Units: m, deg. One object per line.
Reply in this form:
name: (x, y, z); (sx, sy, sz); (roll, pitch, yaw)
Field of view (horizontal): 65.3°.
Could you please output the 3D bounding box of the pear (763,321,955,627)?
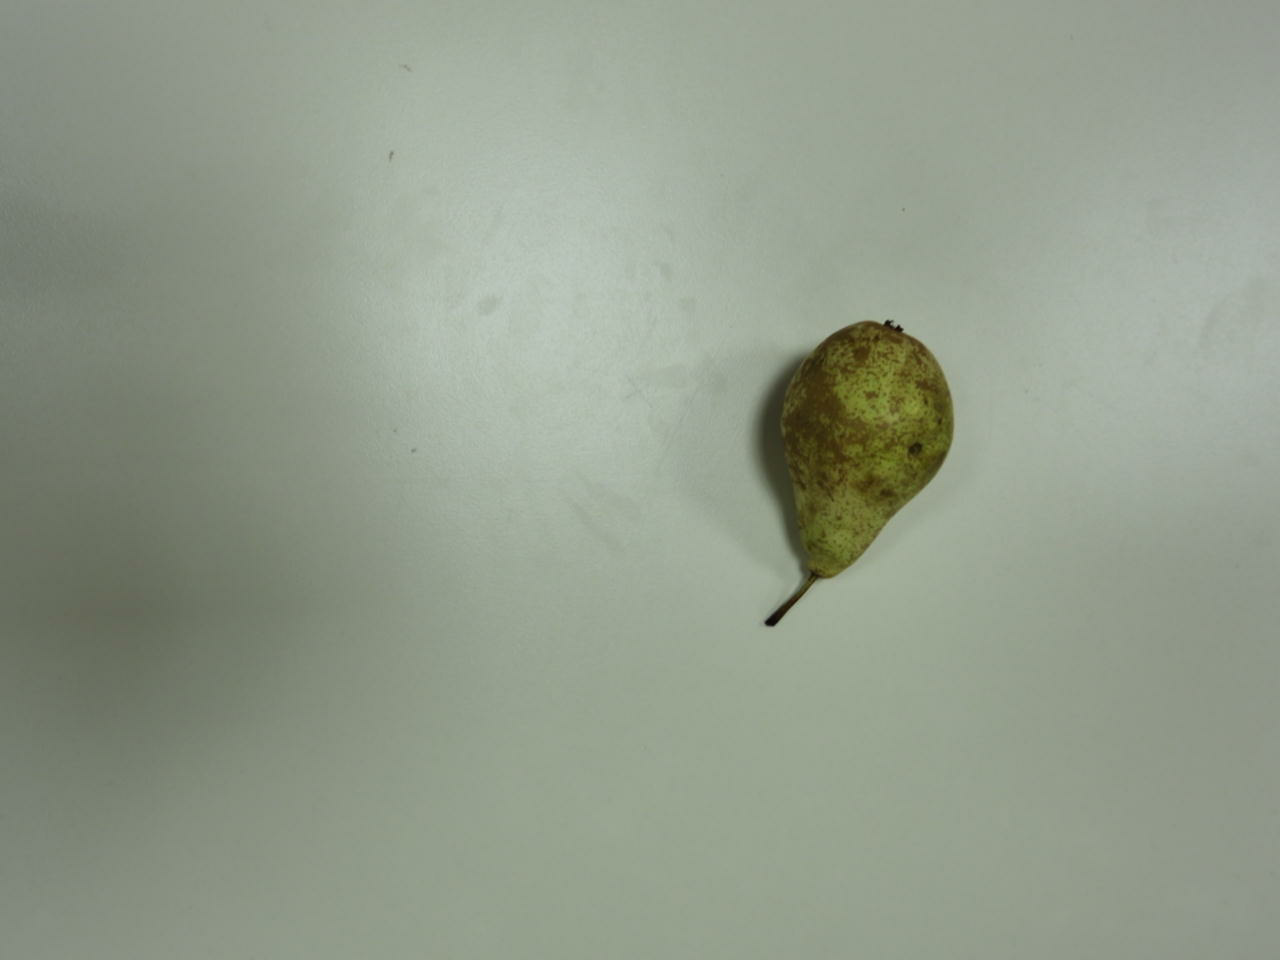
pear: (0.097, -0.002, 0.426); (0.071, 0.075, 0.128); (-7, 92, -12)
